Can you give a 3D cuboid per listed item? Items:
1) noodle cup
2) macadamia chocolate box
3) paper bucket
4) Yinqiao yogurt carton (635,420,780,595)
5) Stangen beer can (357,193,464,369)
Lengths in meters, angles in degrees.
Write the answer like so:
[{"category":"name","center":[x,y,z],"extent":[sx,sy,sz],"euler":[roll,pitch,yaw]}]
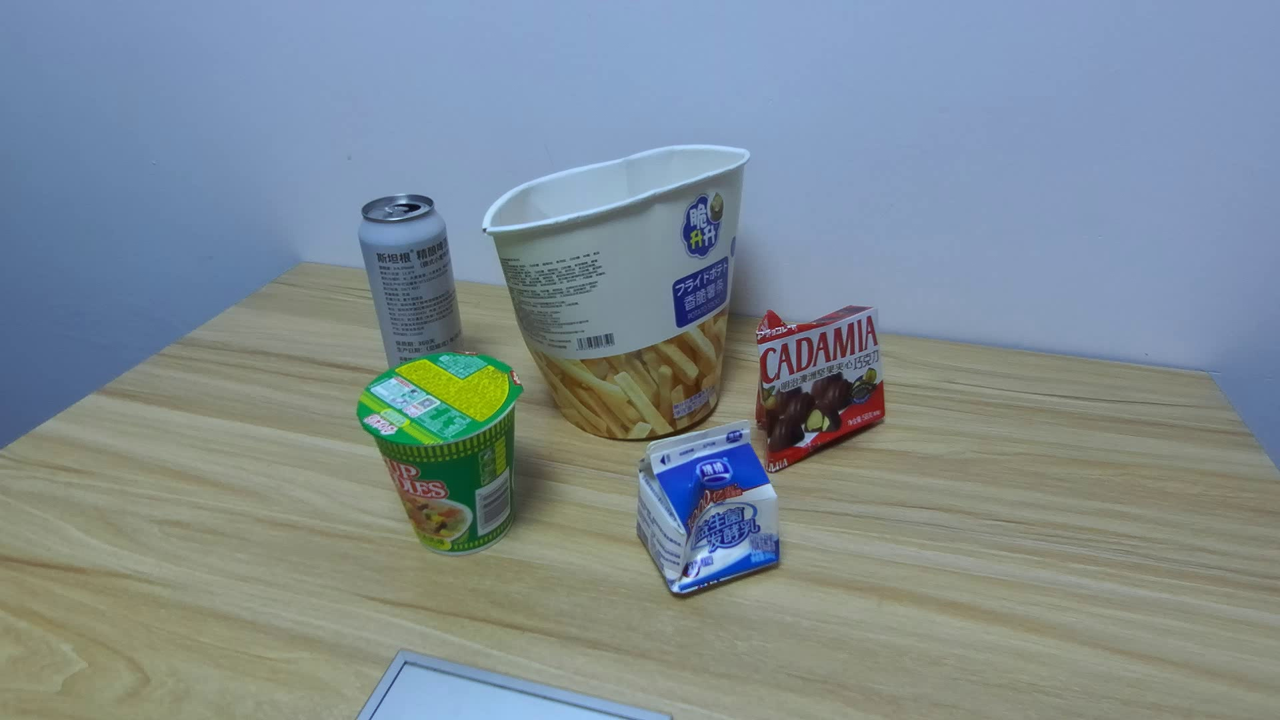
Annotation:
[{"category":"noodle cup","center":[-0.122,0.067,0.465],"extent":[0.097,0.110,0.097],"euler":[-1,31,1]},{"category":"macadamia chocolate box","center":[0.136,0.011,0.544],"extent":[0.127,0.112,0.056],"euler":[-17,35,-24]},{"category":"paper bucket","center":[-0.005,-0.055,0.567],"extent":[0.147,0.199,0.218],"euler":[10,34,17]},{"category":"Yinqiao yogurt carton","center":[0.040,0.084,0.448],"extent":[0.077,0.094,0.071],"euler":[-12,28,-19]},{"category":"Stangen beer can","center":[-0.186,-0.048,0.587],"extent":[0.067,0.171,0.067],"euler":[0,33,0]}]
